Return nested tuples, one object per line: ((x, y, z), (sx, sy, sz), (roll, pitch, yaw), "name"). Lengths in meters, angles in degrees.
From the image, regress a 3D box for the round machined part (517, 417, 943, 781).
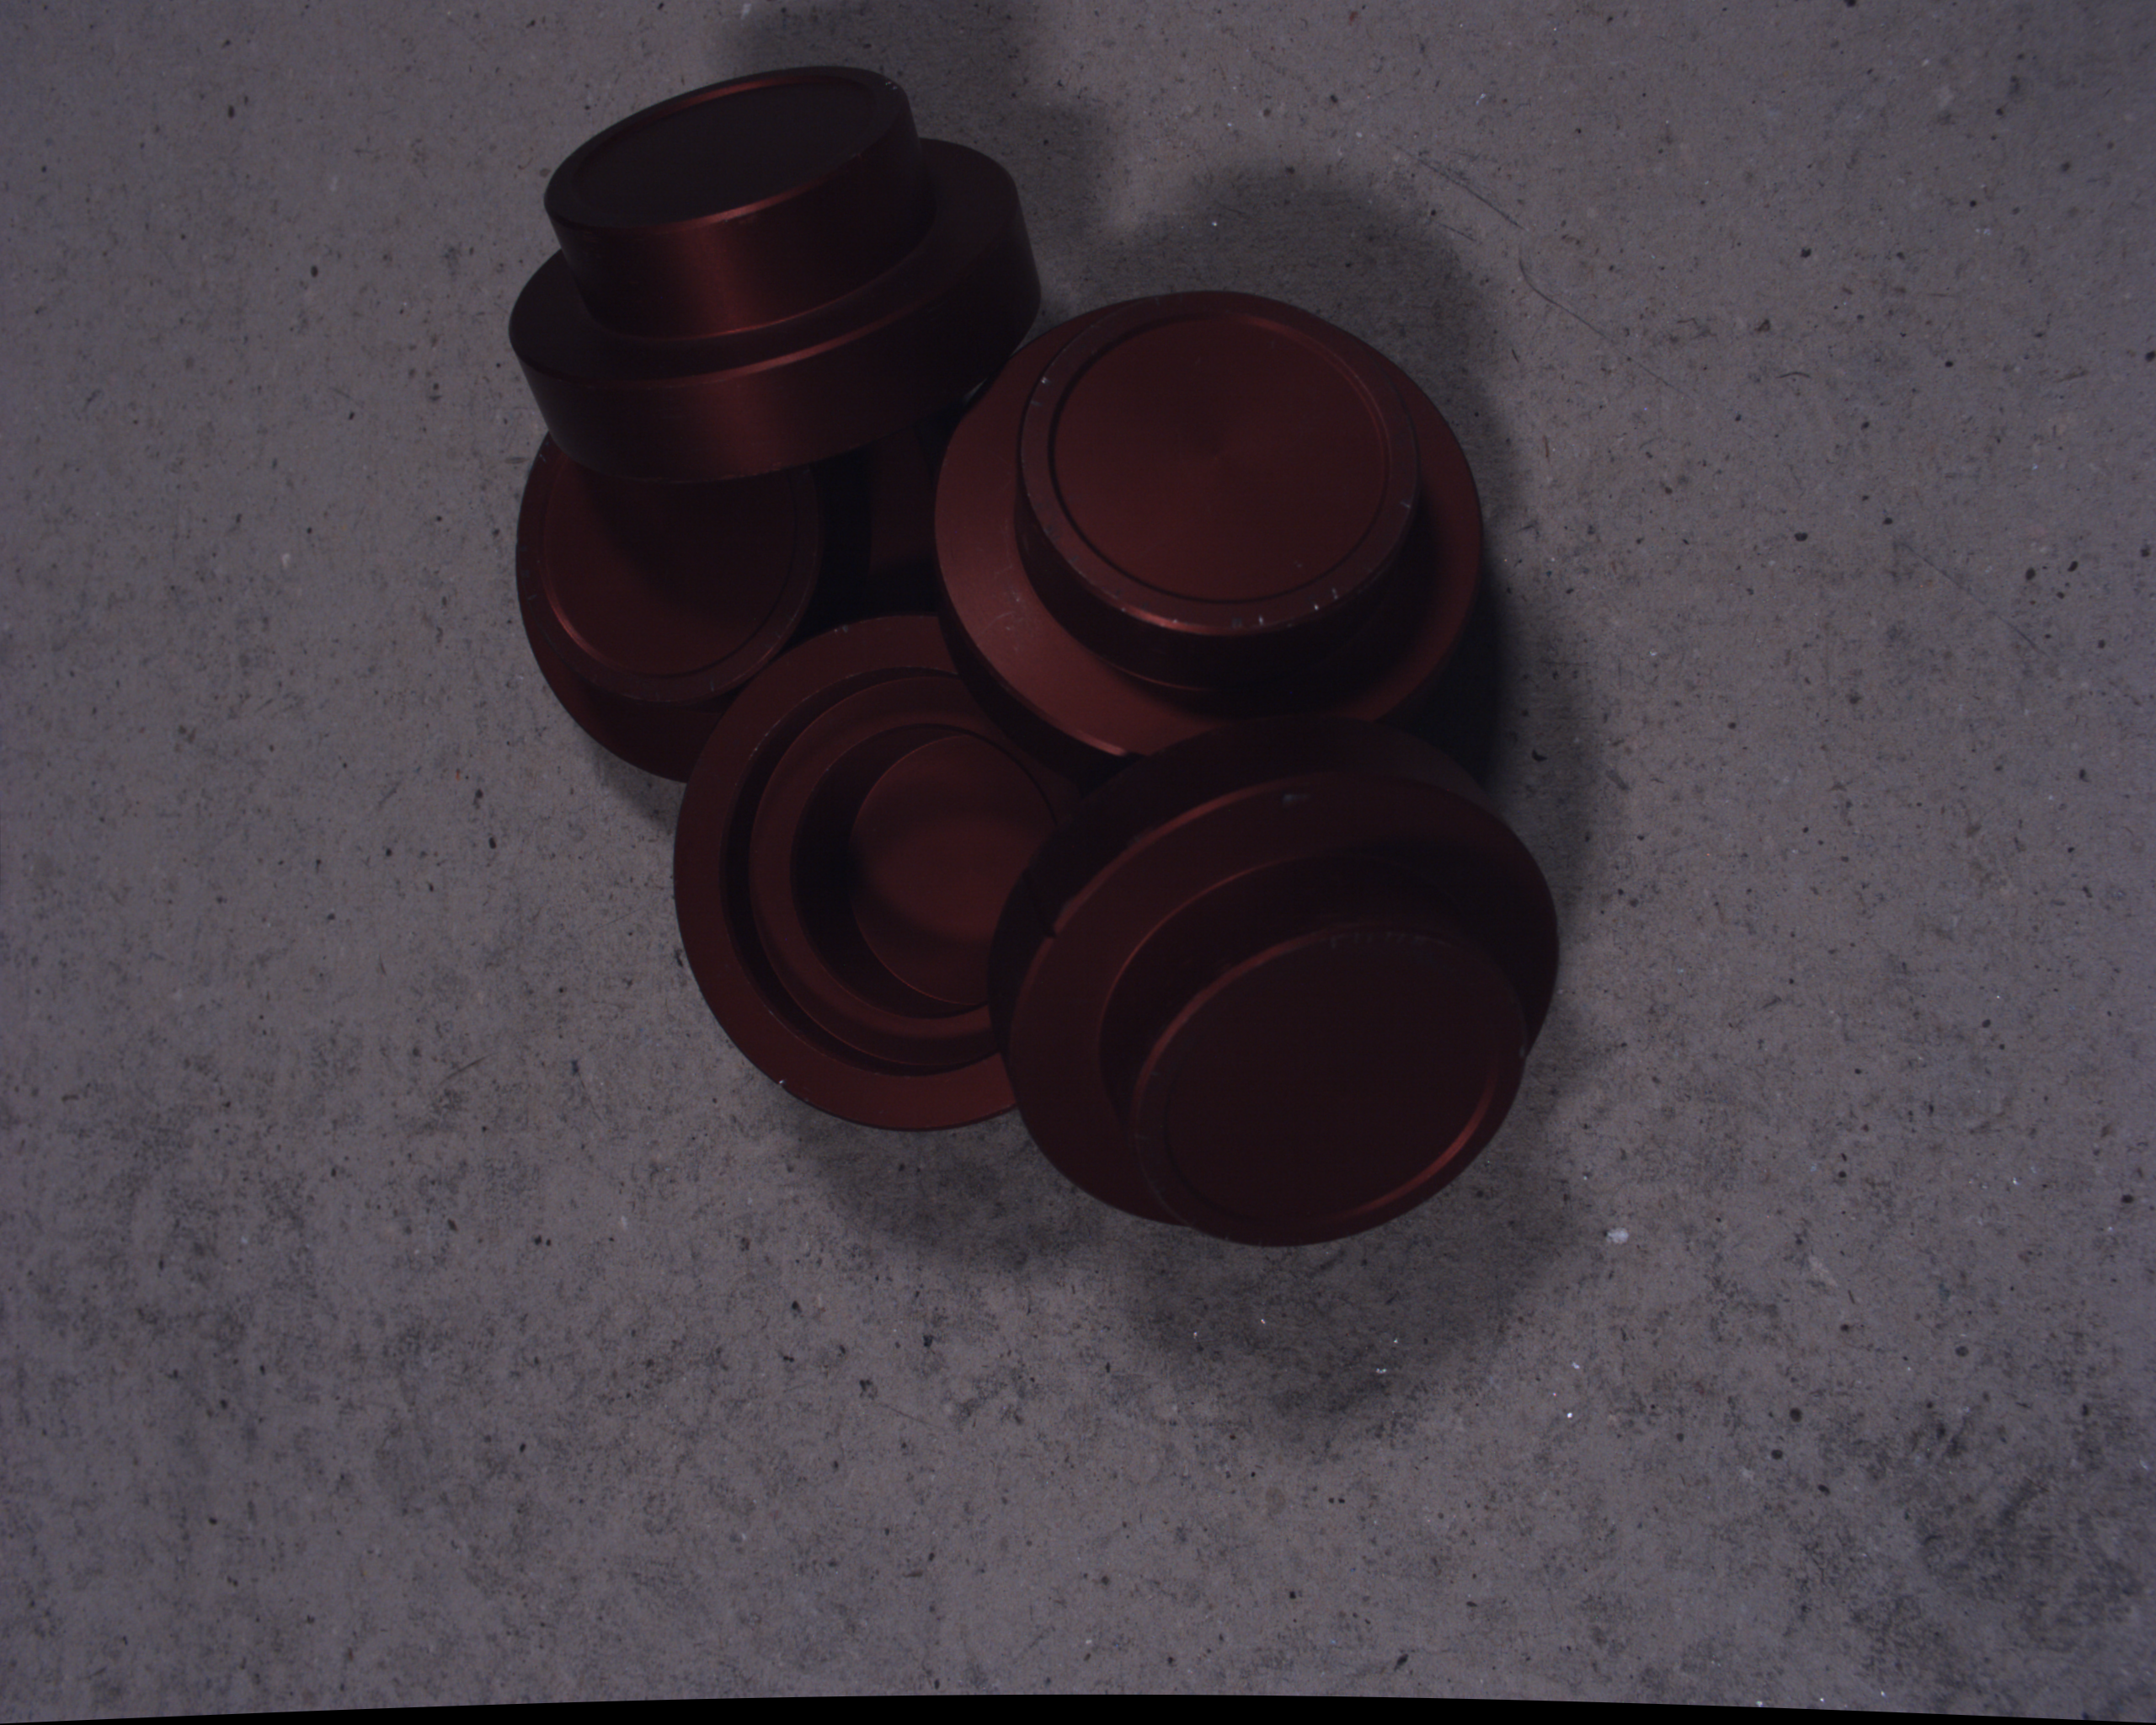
((-0.073, -0.064, 0.427), (0.098, 0.042, 0.097), (0, 90, 19), "round machined part")

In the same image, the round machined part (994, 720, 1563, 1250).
((0.038, 0.028, 0.358), (0.098, 0.098, 0.042), (-45, 36, 14), "round machined part")

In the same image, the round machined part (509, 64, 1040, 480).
((-0.059, -0.115, 0.390), (0.098, 0.098, 0.042), (1, 132, 19), "round machined part")

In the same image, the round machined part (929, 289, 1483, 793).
((0.023, -0.061, 0.369), (0.099, 0.042, 0.098), (1, 68, -3), "round machined part")

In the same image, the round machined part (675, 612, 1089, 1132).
((-0.025, 0.002, 0.409), (0.098, 0.042, 0.097), (0, 90, 19), "round machined part")
